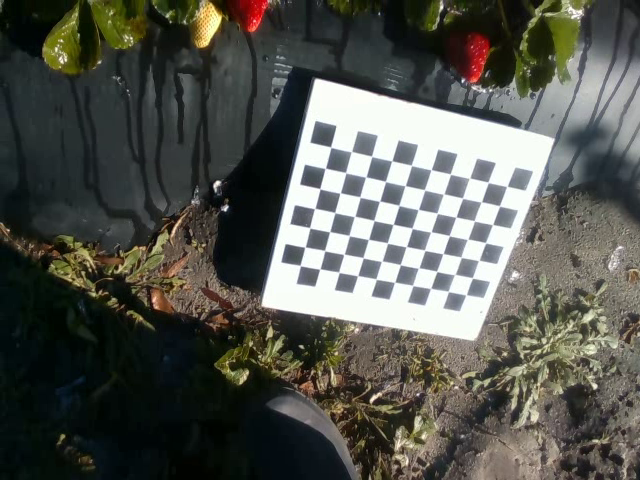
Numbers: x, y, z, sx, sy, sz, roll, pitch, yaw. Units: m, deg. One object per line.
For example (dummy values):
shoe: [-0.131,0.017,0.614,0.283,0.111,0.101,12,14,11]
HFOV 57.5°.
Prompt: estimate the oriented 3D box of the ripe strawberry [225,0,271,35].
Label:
ripe strawberry: [-0.069,-0.217,0.553,0.043,0.061,0.046,-3,-19,-8]

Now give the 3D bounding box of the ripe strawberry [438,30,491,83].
ripe strawberry: [0.154,-0.187,0.595,0.049,0.061,0.044,4,-11,-11]
